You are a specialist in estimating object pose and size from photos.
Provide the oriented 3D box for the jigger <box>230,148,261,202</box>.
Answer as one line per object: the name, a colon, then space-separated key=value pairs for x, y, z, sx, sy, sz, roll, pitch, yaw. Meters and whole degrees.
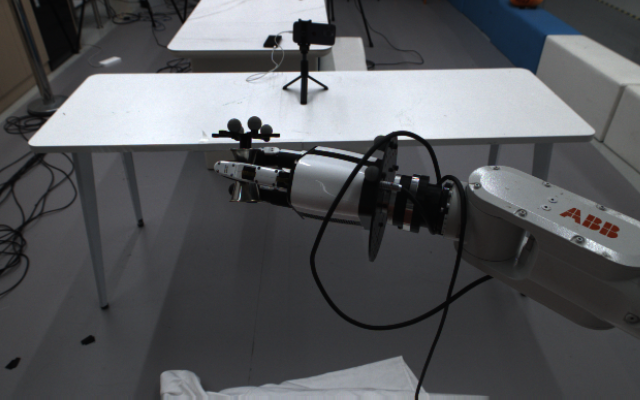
jigger: x=-0.095 y=-0.032 z=0.628 sx=0.043 sy=0.071 sz=0.043 roll=0 pitch=2 yaw=0
